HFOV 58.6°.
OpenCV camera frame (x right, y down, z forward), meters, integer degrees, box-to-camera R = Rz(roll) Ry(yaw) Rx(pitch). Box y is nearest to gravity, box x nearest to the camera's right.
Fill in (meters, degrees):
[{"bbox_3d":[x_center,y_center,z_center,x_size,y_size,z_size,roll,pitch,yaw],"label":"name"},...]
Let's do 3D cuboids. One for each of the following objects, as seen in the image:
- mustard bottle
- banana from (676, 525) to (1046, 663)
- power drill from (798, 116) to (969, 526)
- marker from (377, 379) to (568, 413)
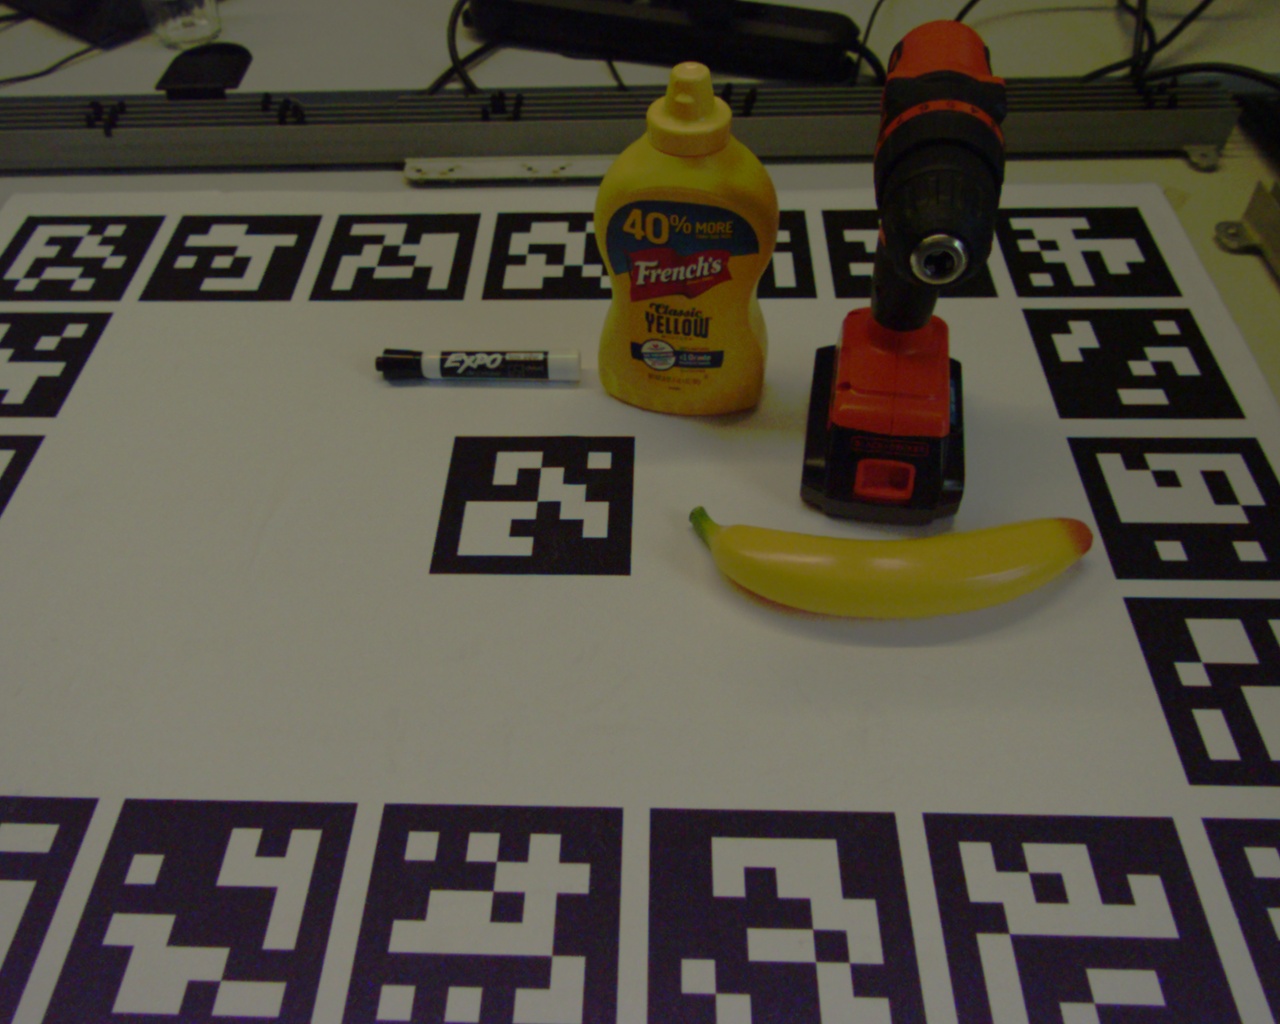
[{"bbox_3d":[0.018,-0.122,0.646,0.096,0.191,0.058,10,50,8],"label":"mustard bottle"},{"bbox_3d":[0.112,0.046,0.600,0.198,0.038,0.074,5,51,9],"label":"banana"},{"bbox_3d":[0.122,-0.083,0.585,0.057,0.186,0.184,12,48,9],"label":"power drill"},{"bbox_3d":[-0.106,-0.074,0.723,0.121,0.019,0.020,2,50,4],"label":"marker"}]
